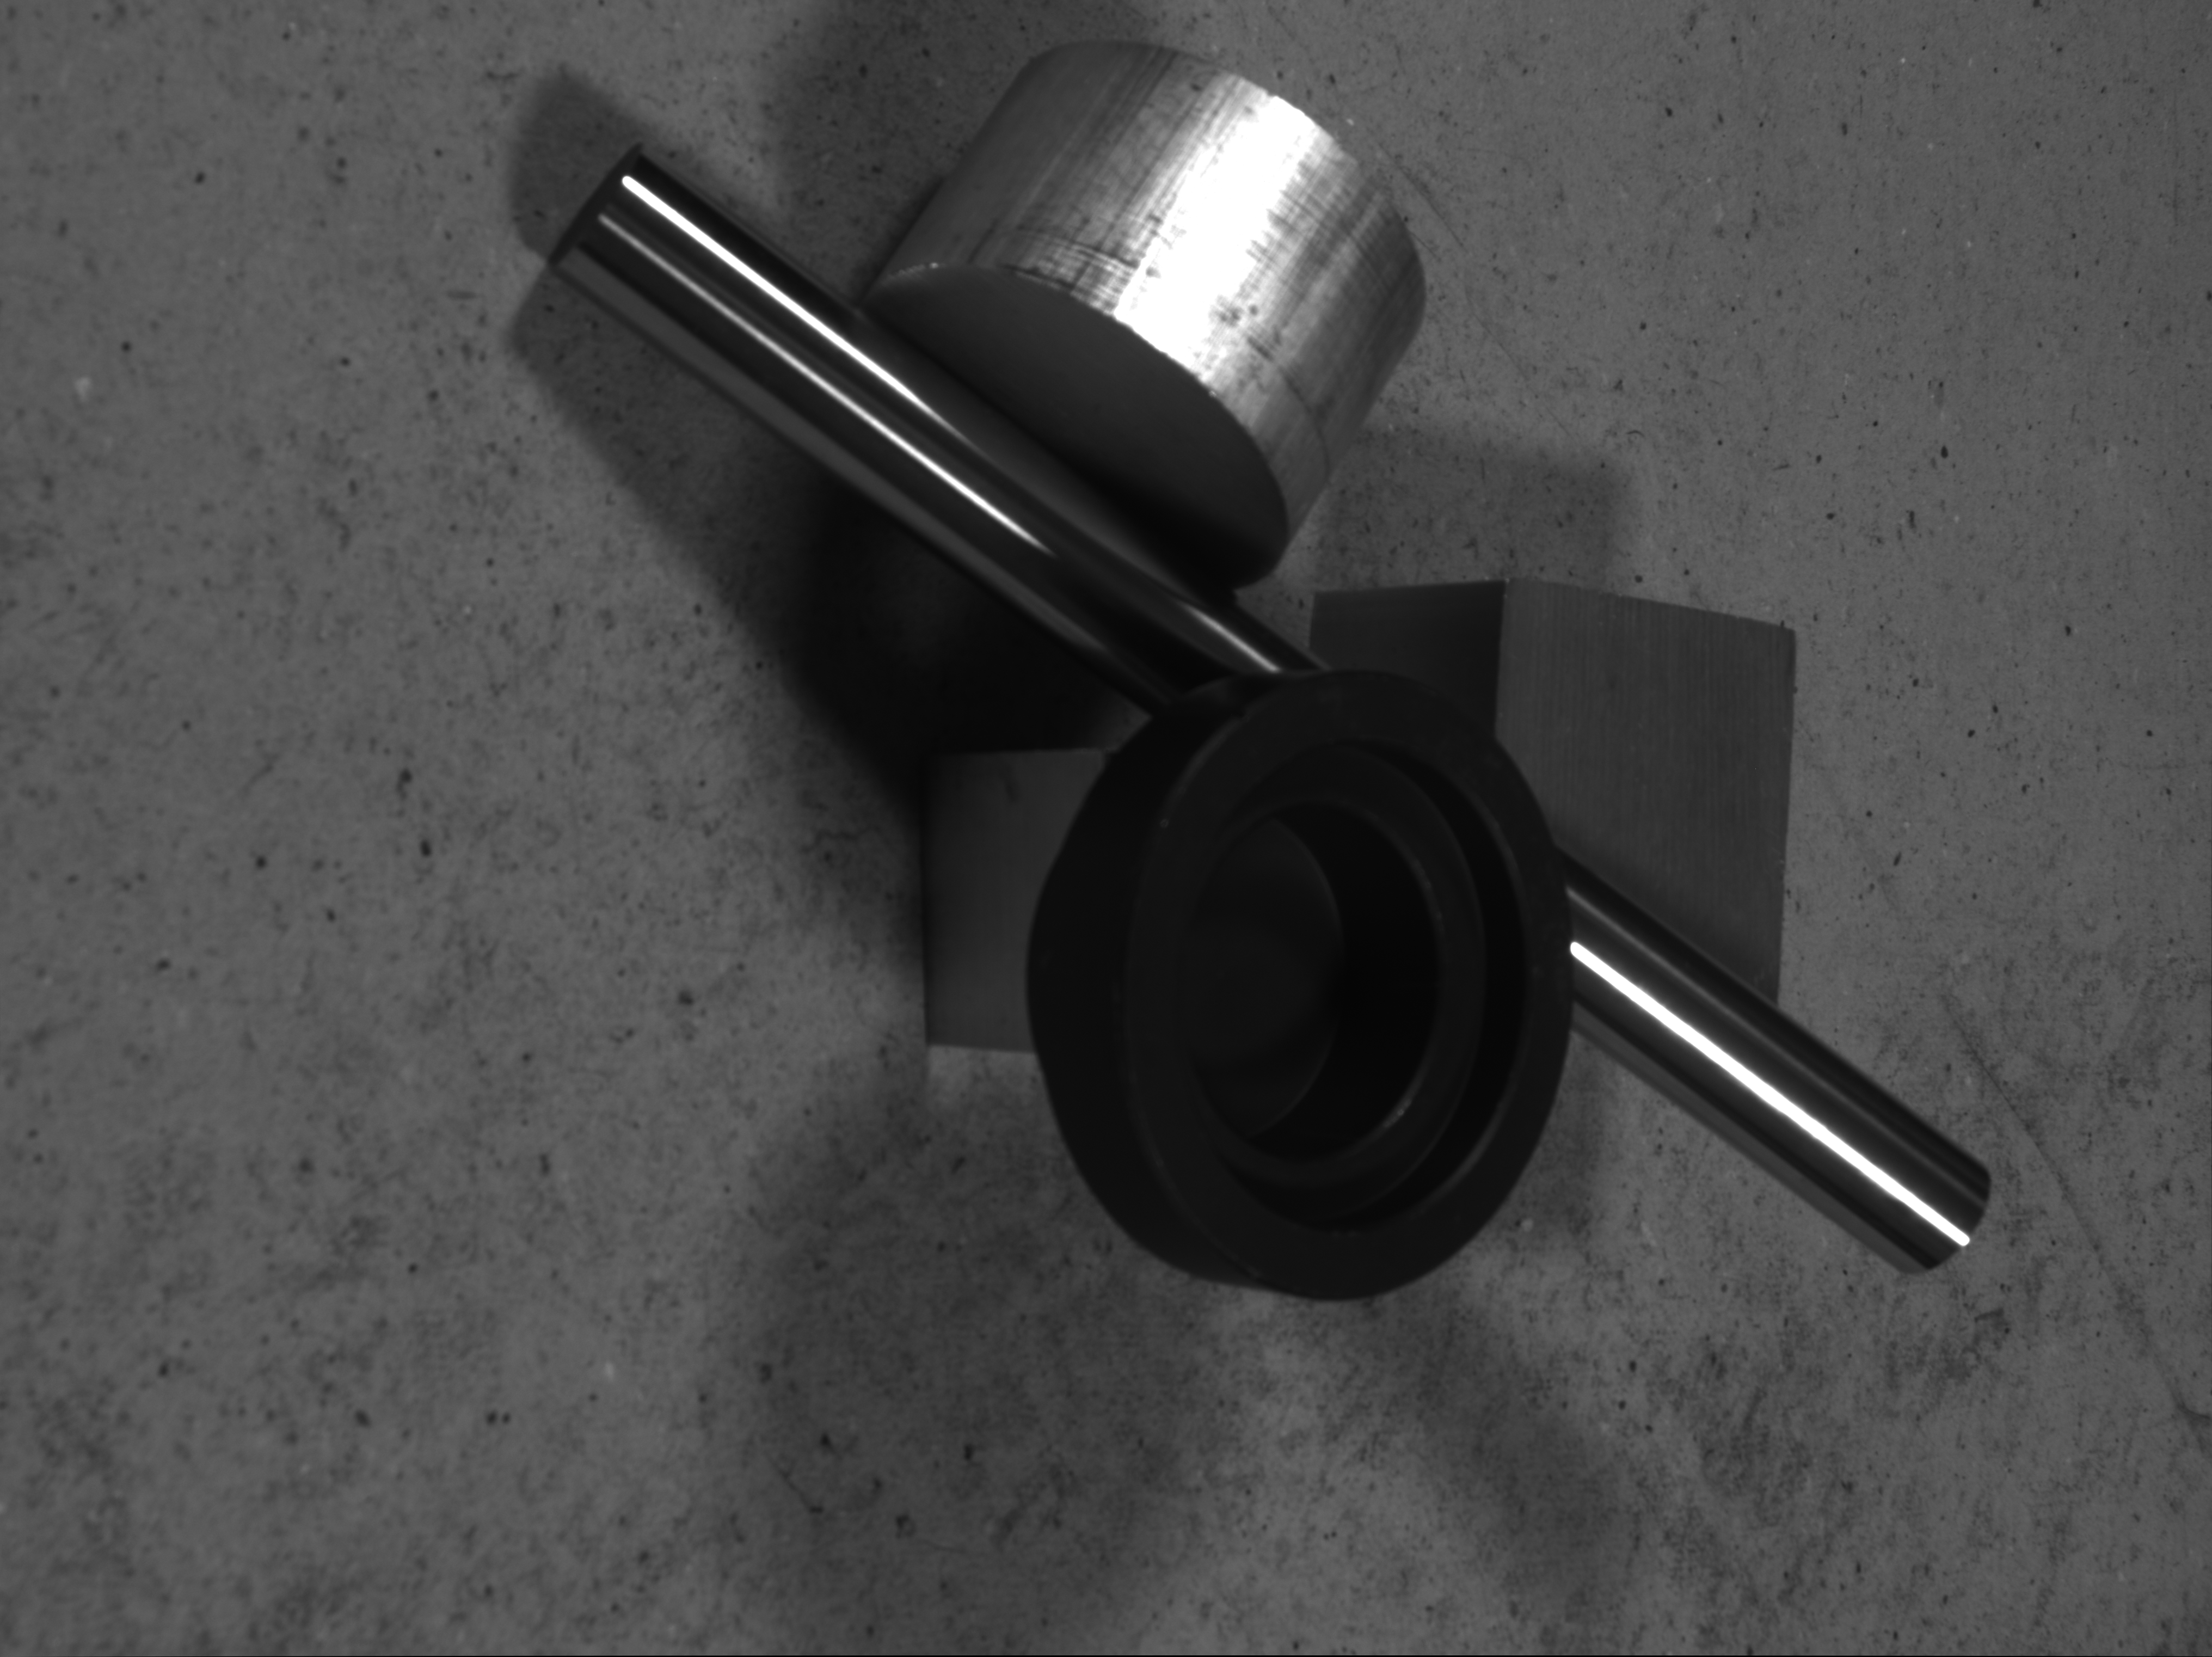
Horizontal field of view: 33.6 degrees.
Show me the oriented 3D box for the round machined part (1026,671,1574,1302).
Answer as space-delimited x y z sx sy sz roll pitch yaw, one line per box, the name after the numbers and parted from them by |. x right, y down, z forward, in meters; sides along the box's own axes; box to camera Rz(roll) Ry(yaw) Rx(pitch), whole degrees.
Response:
0.026 0.024 0.584 0.098 0.042 0.098 -1 92 -40 | round machined part

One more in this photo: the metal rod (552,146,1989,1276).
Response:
0.036 -0.013 0.619 0.300 0.025 0.025 36 67 -19 | metal rod

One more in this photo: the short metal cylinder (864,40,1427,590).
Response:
0.006 -0.084 0.607 0.080 0.080 0.050 45 63 -30 | short metal cylinder

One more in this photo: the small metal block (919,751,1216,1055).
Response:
-0.006 0.012 0.617 0.025 0.050 0.050 -2 92 -40 | small metal block

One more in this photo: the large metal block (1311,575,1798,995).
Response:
0.083 -0.002 0.691 0.080 0.050 0.080 6 86 -40 | large metal block
